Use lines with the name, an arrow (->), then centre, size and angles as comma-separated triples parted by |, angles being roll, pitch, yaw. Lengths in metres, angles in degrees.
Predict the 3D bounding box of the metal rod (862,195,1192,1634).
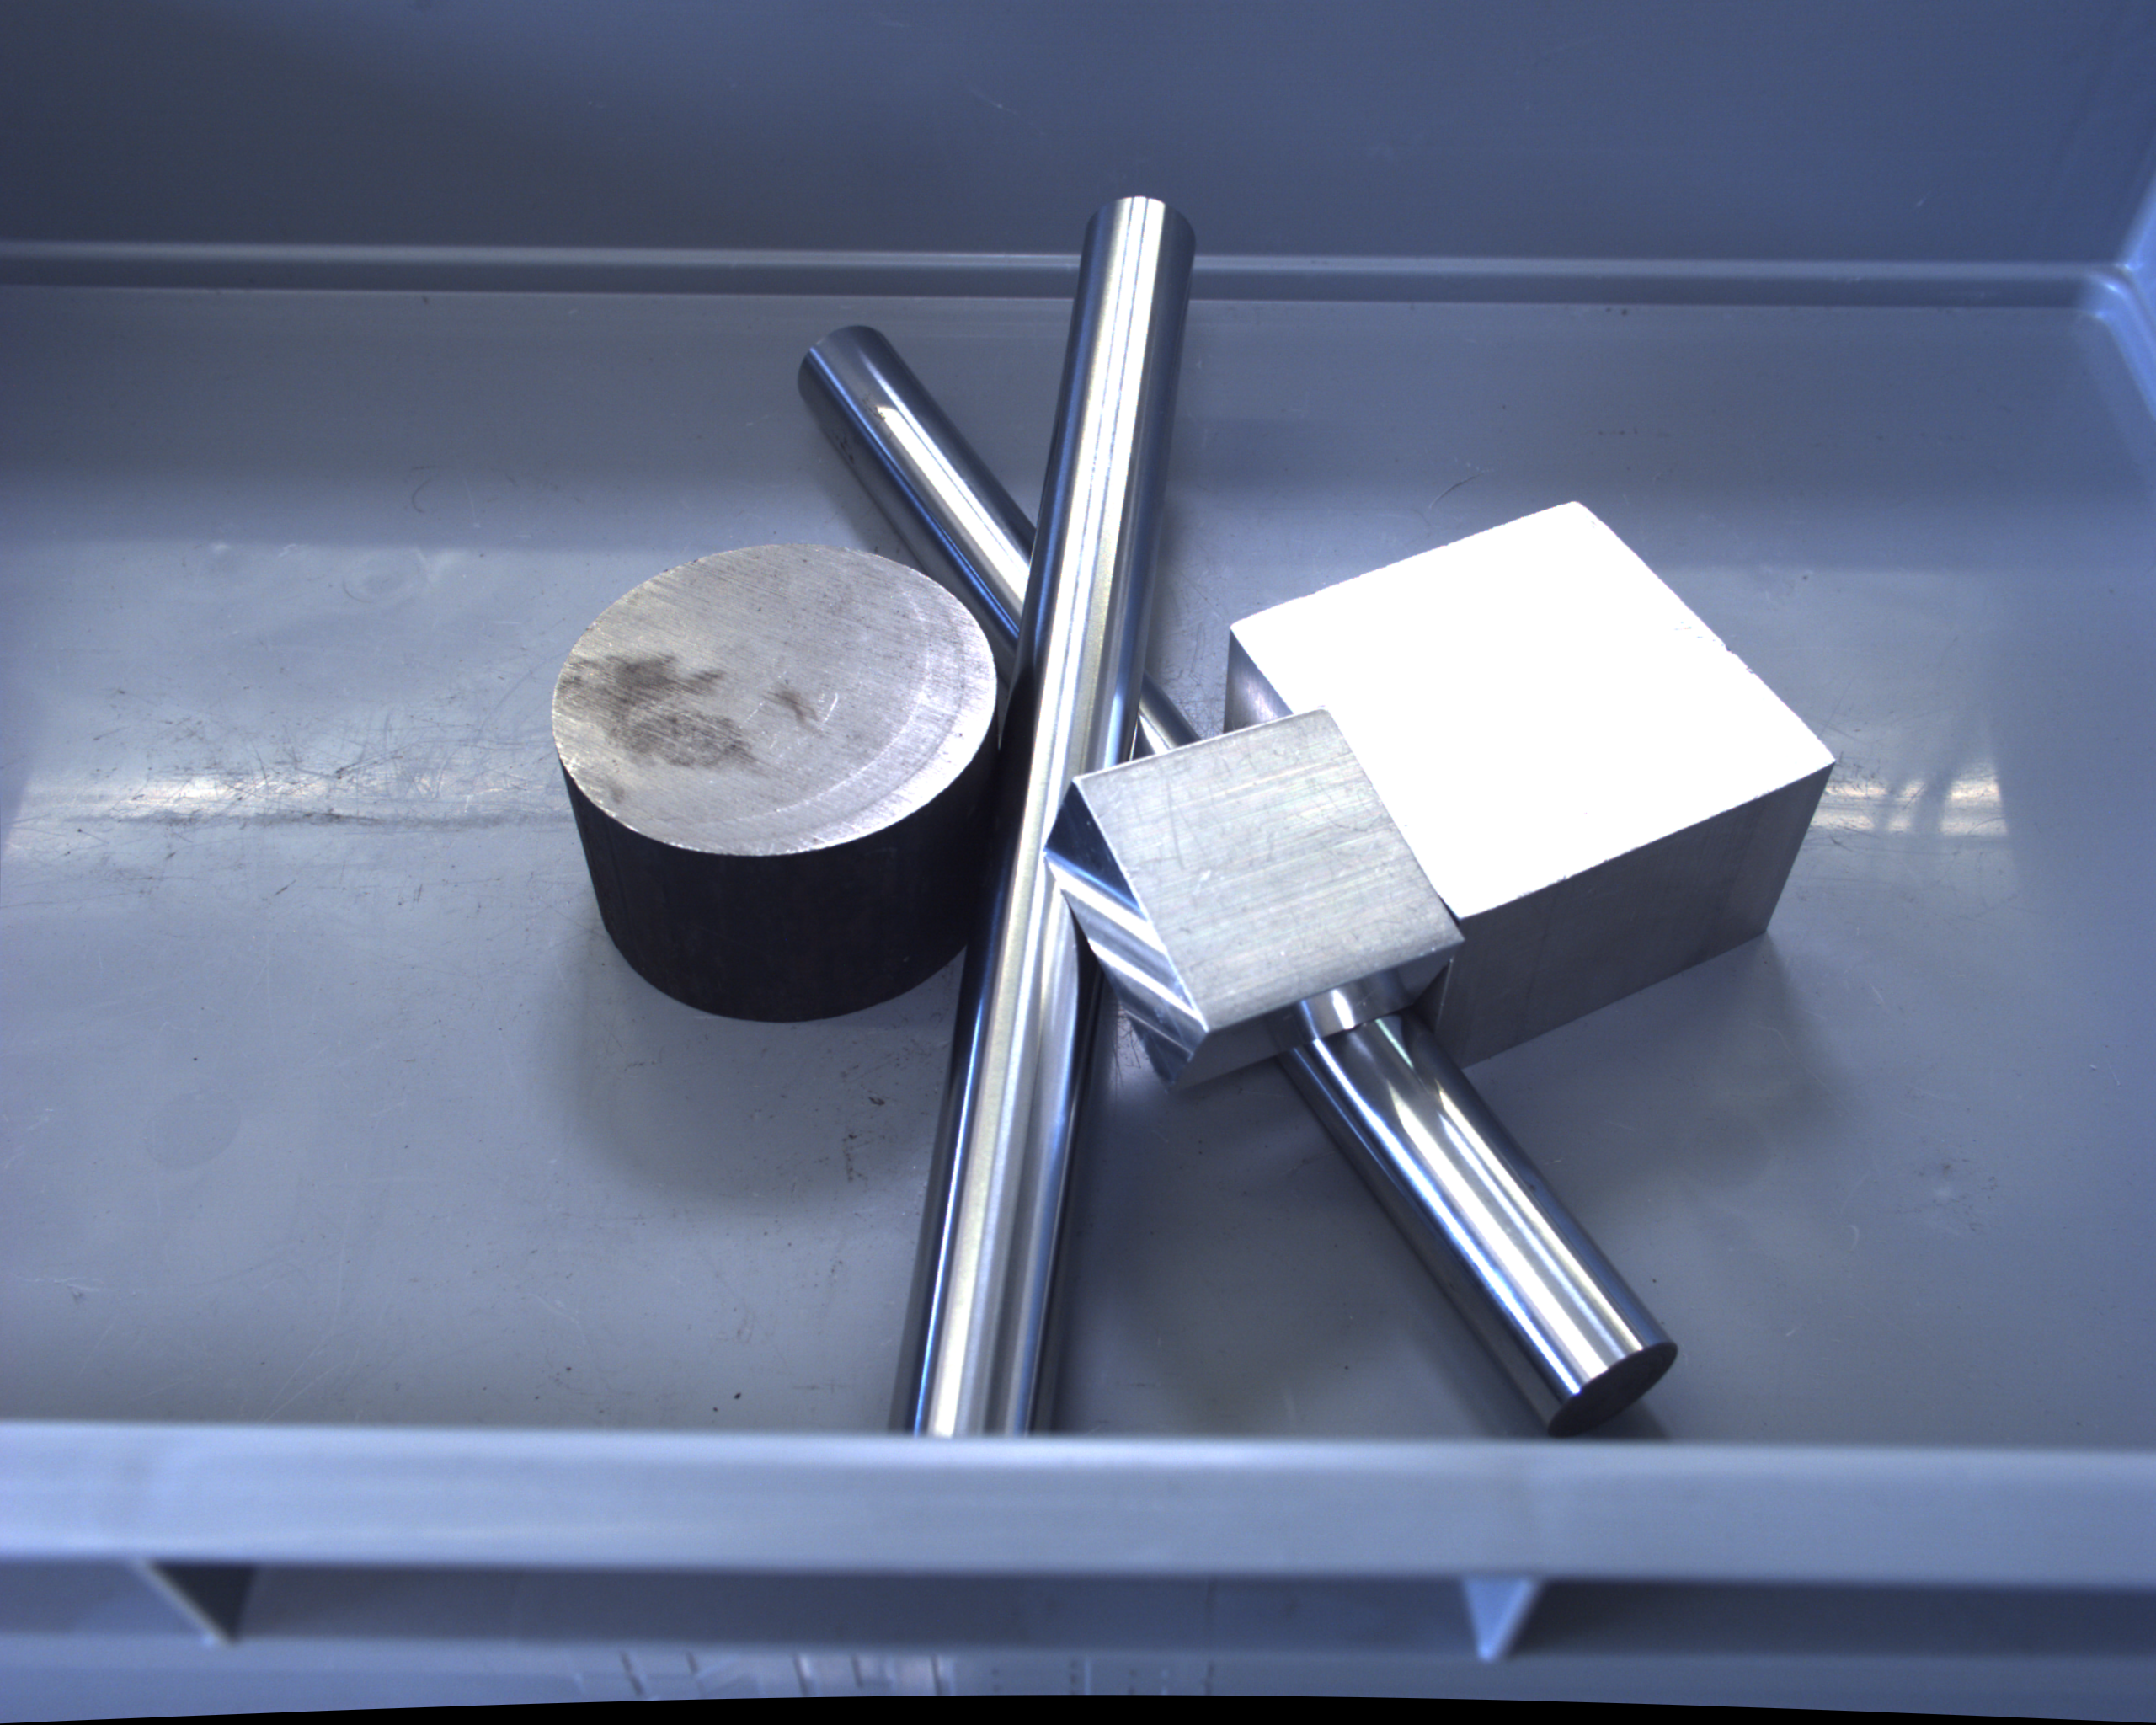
metal rod -> -0.003, -0.014, 0.389 | 0.025, 0.025, 0.300 | 5, 58, 4

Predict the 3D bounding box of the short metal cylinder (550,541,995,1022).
short metal cylinder -> -0.056, -0.016, 0.400 | 0.081, 0.050, 0.080 | 1, 50, 0

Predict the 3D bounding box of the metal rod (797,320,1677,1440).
metal rod -> 0.015, -0.017, 0.417 | 0.025, 0.025, 0.300 | -22, 54, -18

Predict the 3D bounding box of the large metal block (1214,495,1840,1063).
large metal block -> 0.081, -0.016, 0.400 | 0.081, 0.050, 0.080 | -21, 53, -17

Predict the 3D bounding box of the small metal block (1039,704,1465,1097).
small metal block -> 0.029, 0.006, 0.357 | 0.050, 0.025, 0.050 | -17, 67, -24
